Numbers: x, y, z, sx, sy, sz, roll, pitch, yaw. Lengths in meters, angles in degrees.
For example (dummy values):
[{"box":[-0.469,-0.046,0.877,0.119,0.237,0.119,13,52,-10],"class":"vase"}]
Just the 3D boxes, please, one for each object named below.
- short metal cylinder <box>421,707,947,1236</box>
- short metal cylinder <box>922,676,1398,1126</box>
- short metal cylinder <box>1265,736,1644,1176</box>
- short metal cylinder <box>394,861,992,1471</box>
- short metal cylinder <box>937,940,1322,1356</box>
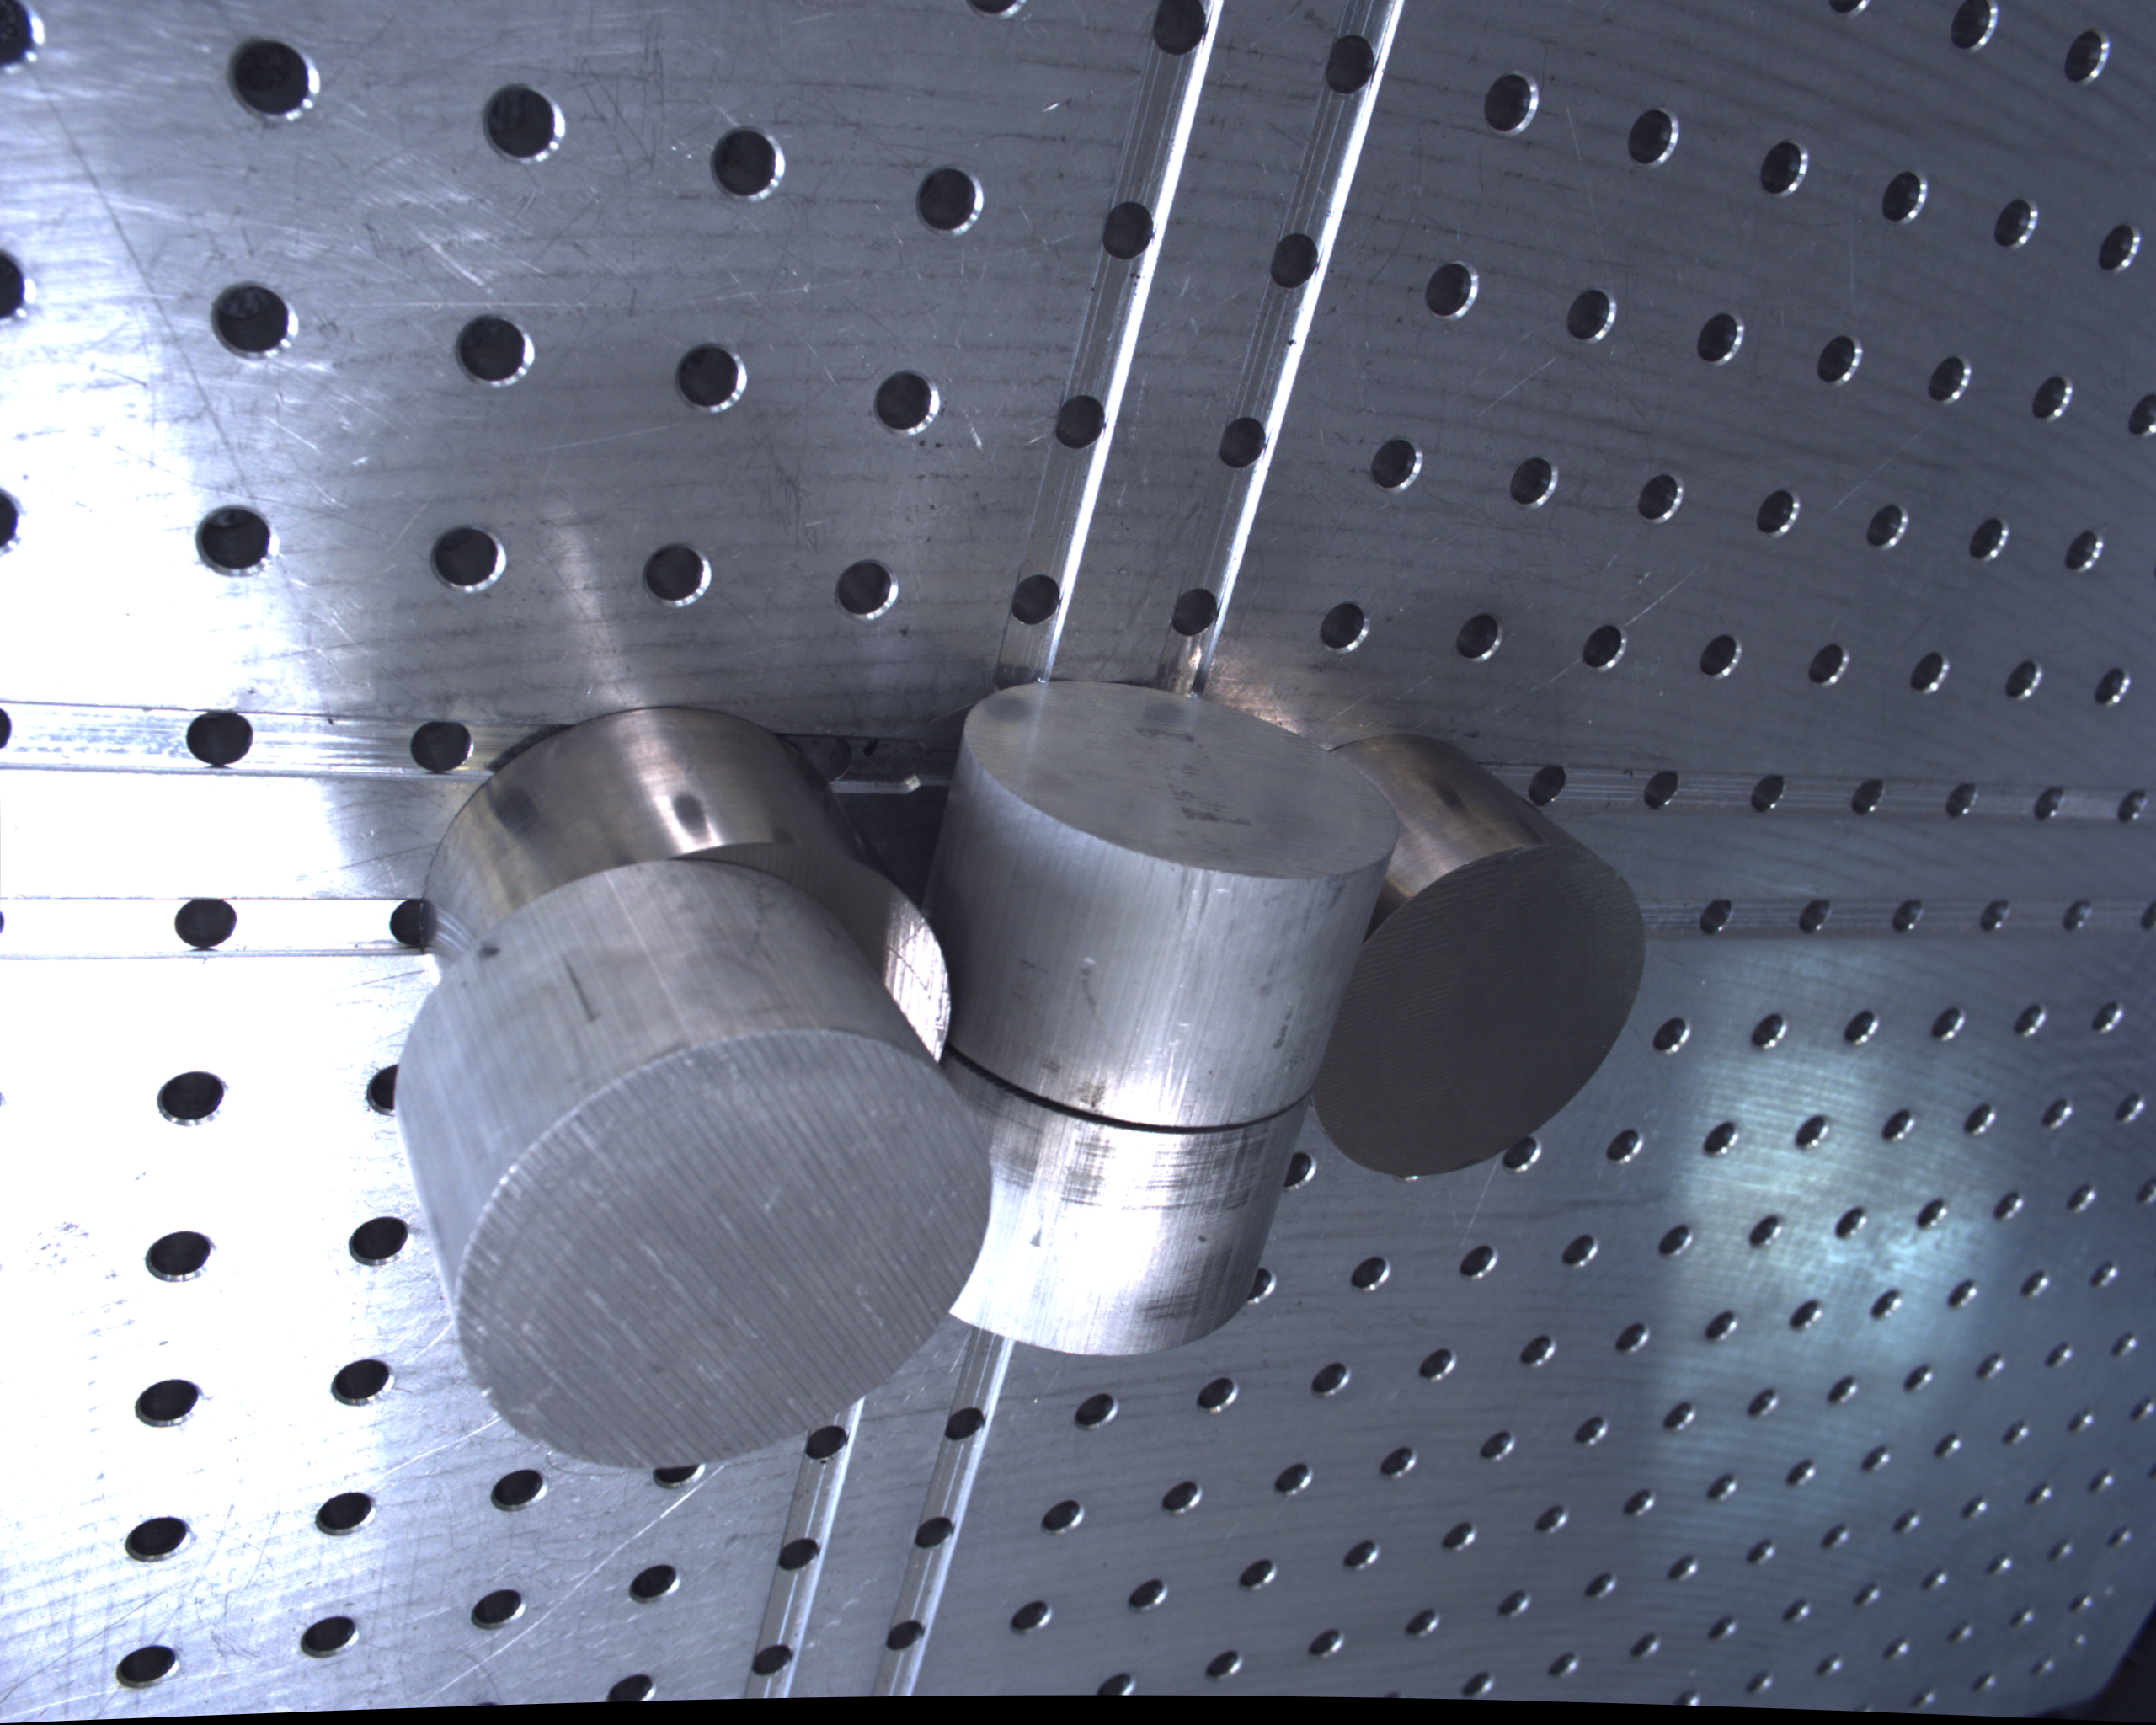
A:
[{"box":[-0.070,0.019,0.368,0.081,0.050,0.079,-14,124,-21],"class":"short metal cylinder"},{"box":[0.013,0.005,0.386,0.081,0.080,0.050,1,119,-29],"class":"short metal cylinder"},{"box":[0.072,0.020,0.445,0.081,0.050,0.079,-14,124,-21],"class":"short metal cylinder"},{"box":[-0.060,0.047,0.324,0.081,0.050,0.079,-14,124,-21],"class":"short metal cylinder"},{"box":[0.002,0.050,0.407,0.081,0.080,0.050,-1,119,-28],"class":"short metal cylinder"}]
